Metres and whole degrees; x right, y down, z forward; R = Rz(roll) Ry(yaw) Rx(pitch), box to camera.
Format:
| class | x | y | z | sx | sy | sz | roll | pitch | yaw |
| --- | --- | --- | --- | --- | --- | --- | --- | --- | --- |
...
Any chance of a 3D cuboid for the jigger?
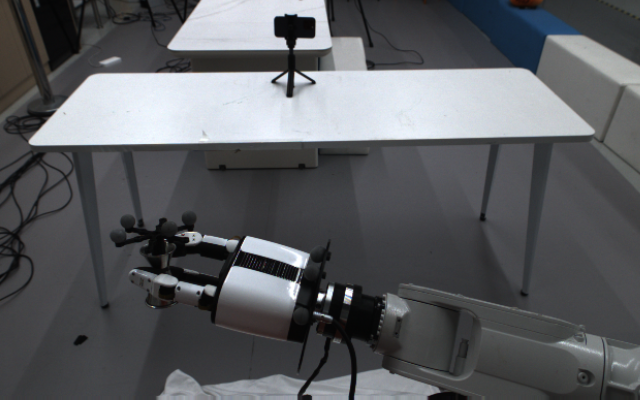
| class | x | y | z | sx | sy | sz | roll | pitch | yaw |
| --- | --- | --- | --- | --- | --- | --- | --- | --- | --- |
| jigger | -0.186 | 0.088 | 0.572 | 0.043 | 0.071 | 0.043 | 0 | 22 | 0 |
